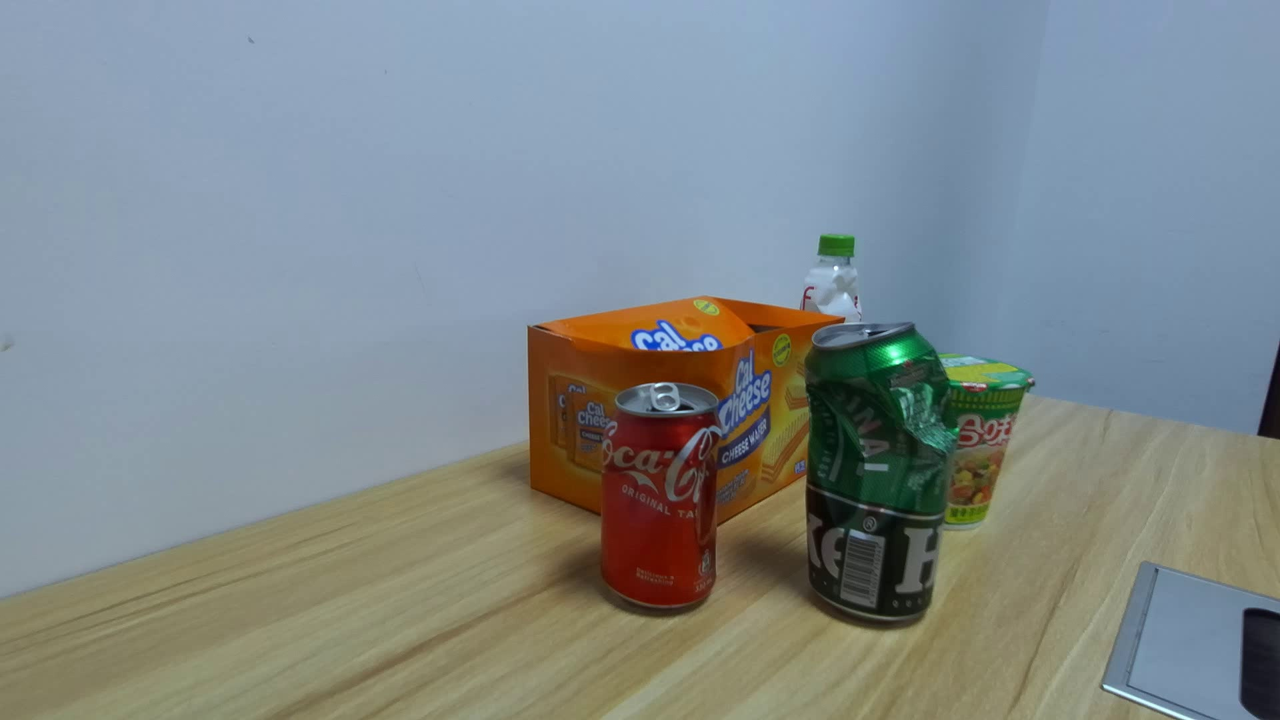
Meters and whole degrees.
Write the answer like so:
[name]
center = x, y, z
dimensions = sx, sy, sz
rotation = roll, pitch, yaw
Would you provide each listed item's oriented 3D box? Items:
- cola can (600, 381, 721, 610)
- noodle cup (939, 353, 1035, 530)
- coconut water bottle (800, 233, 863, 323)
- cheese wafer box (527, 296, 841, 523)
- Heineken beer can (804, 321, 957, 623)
[cola can]
center = 0.012, 0.073, 0.390
dimensions = 0.066, 0.117, 0.066
rotation = 10, 17, 31
[noodle cup]
center = 0.218, 0.057, 0.505
dimensions = 0.097, 0.110, 0.097
rotation = 3, 14, -1
[coconut water bottle]
center = 0.171, -0.019, 0.648
dimensions = 0.069, 0.186, 0.069
rotation = 4, 12, -1
[cheese wafer box]
center = 0.042, 0.033, 0.554
dimensions = 0.151, 0.132, 0.231
rotation = 14, 16, 36
[Heineken beer can]
center = 0.130, 0.058, 0.384
dimensions = 0.078, 0.159, 0.067
rotation = -2, 8, 16
